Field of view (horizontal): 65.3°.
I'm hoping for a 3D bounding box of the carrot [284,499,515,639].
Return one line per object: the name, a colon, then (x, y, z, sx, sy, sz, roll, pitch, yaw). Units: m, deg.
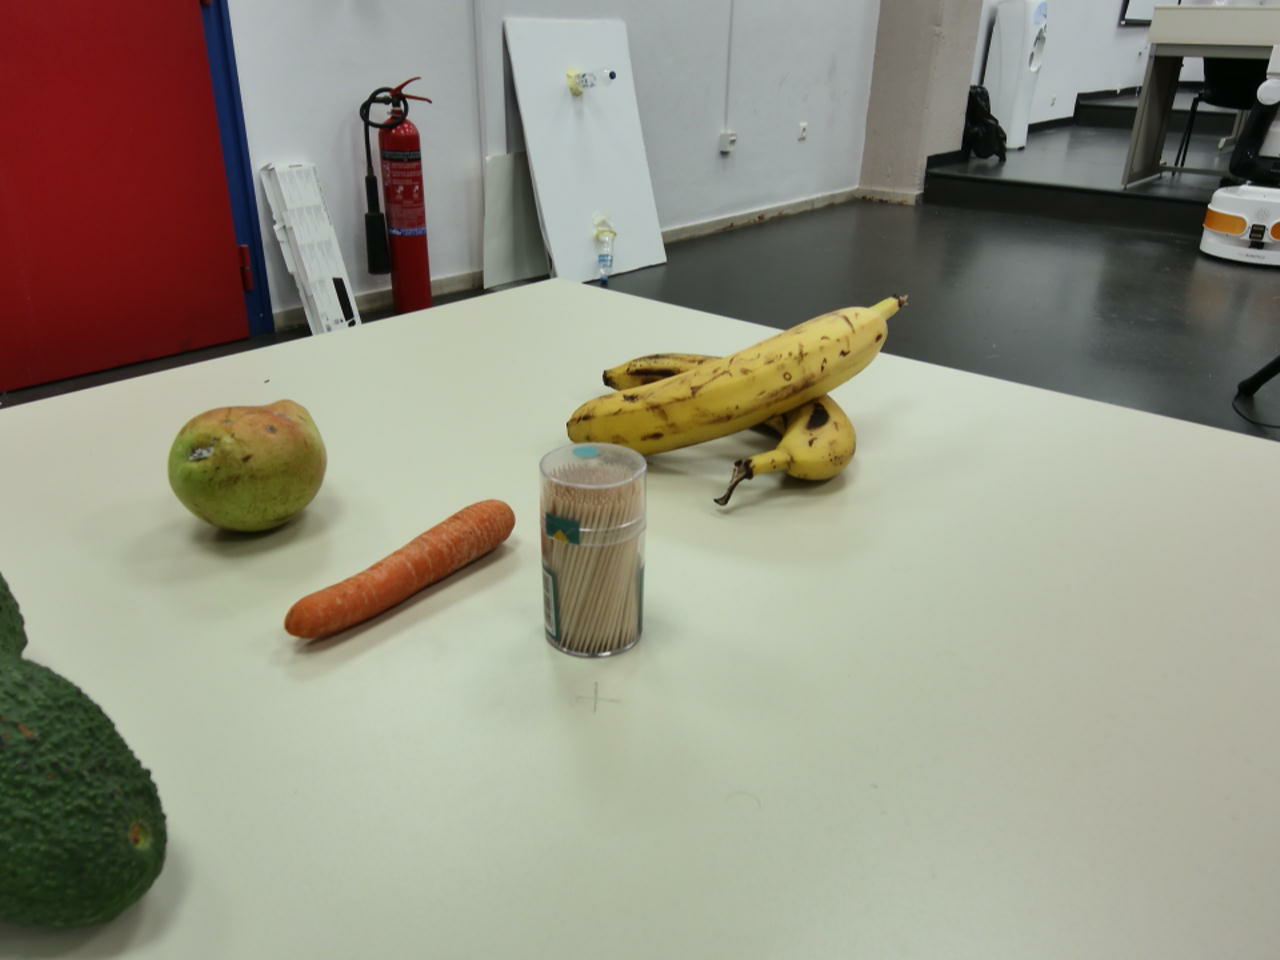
carrot: (-0.098, 0.036, 0.423, 0.024, 0.023, 0.122, 17, 28, 33)
